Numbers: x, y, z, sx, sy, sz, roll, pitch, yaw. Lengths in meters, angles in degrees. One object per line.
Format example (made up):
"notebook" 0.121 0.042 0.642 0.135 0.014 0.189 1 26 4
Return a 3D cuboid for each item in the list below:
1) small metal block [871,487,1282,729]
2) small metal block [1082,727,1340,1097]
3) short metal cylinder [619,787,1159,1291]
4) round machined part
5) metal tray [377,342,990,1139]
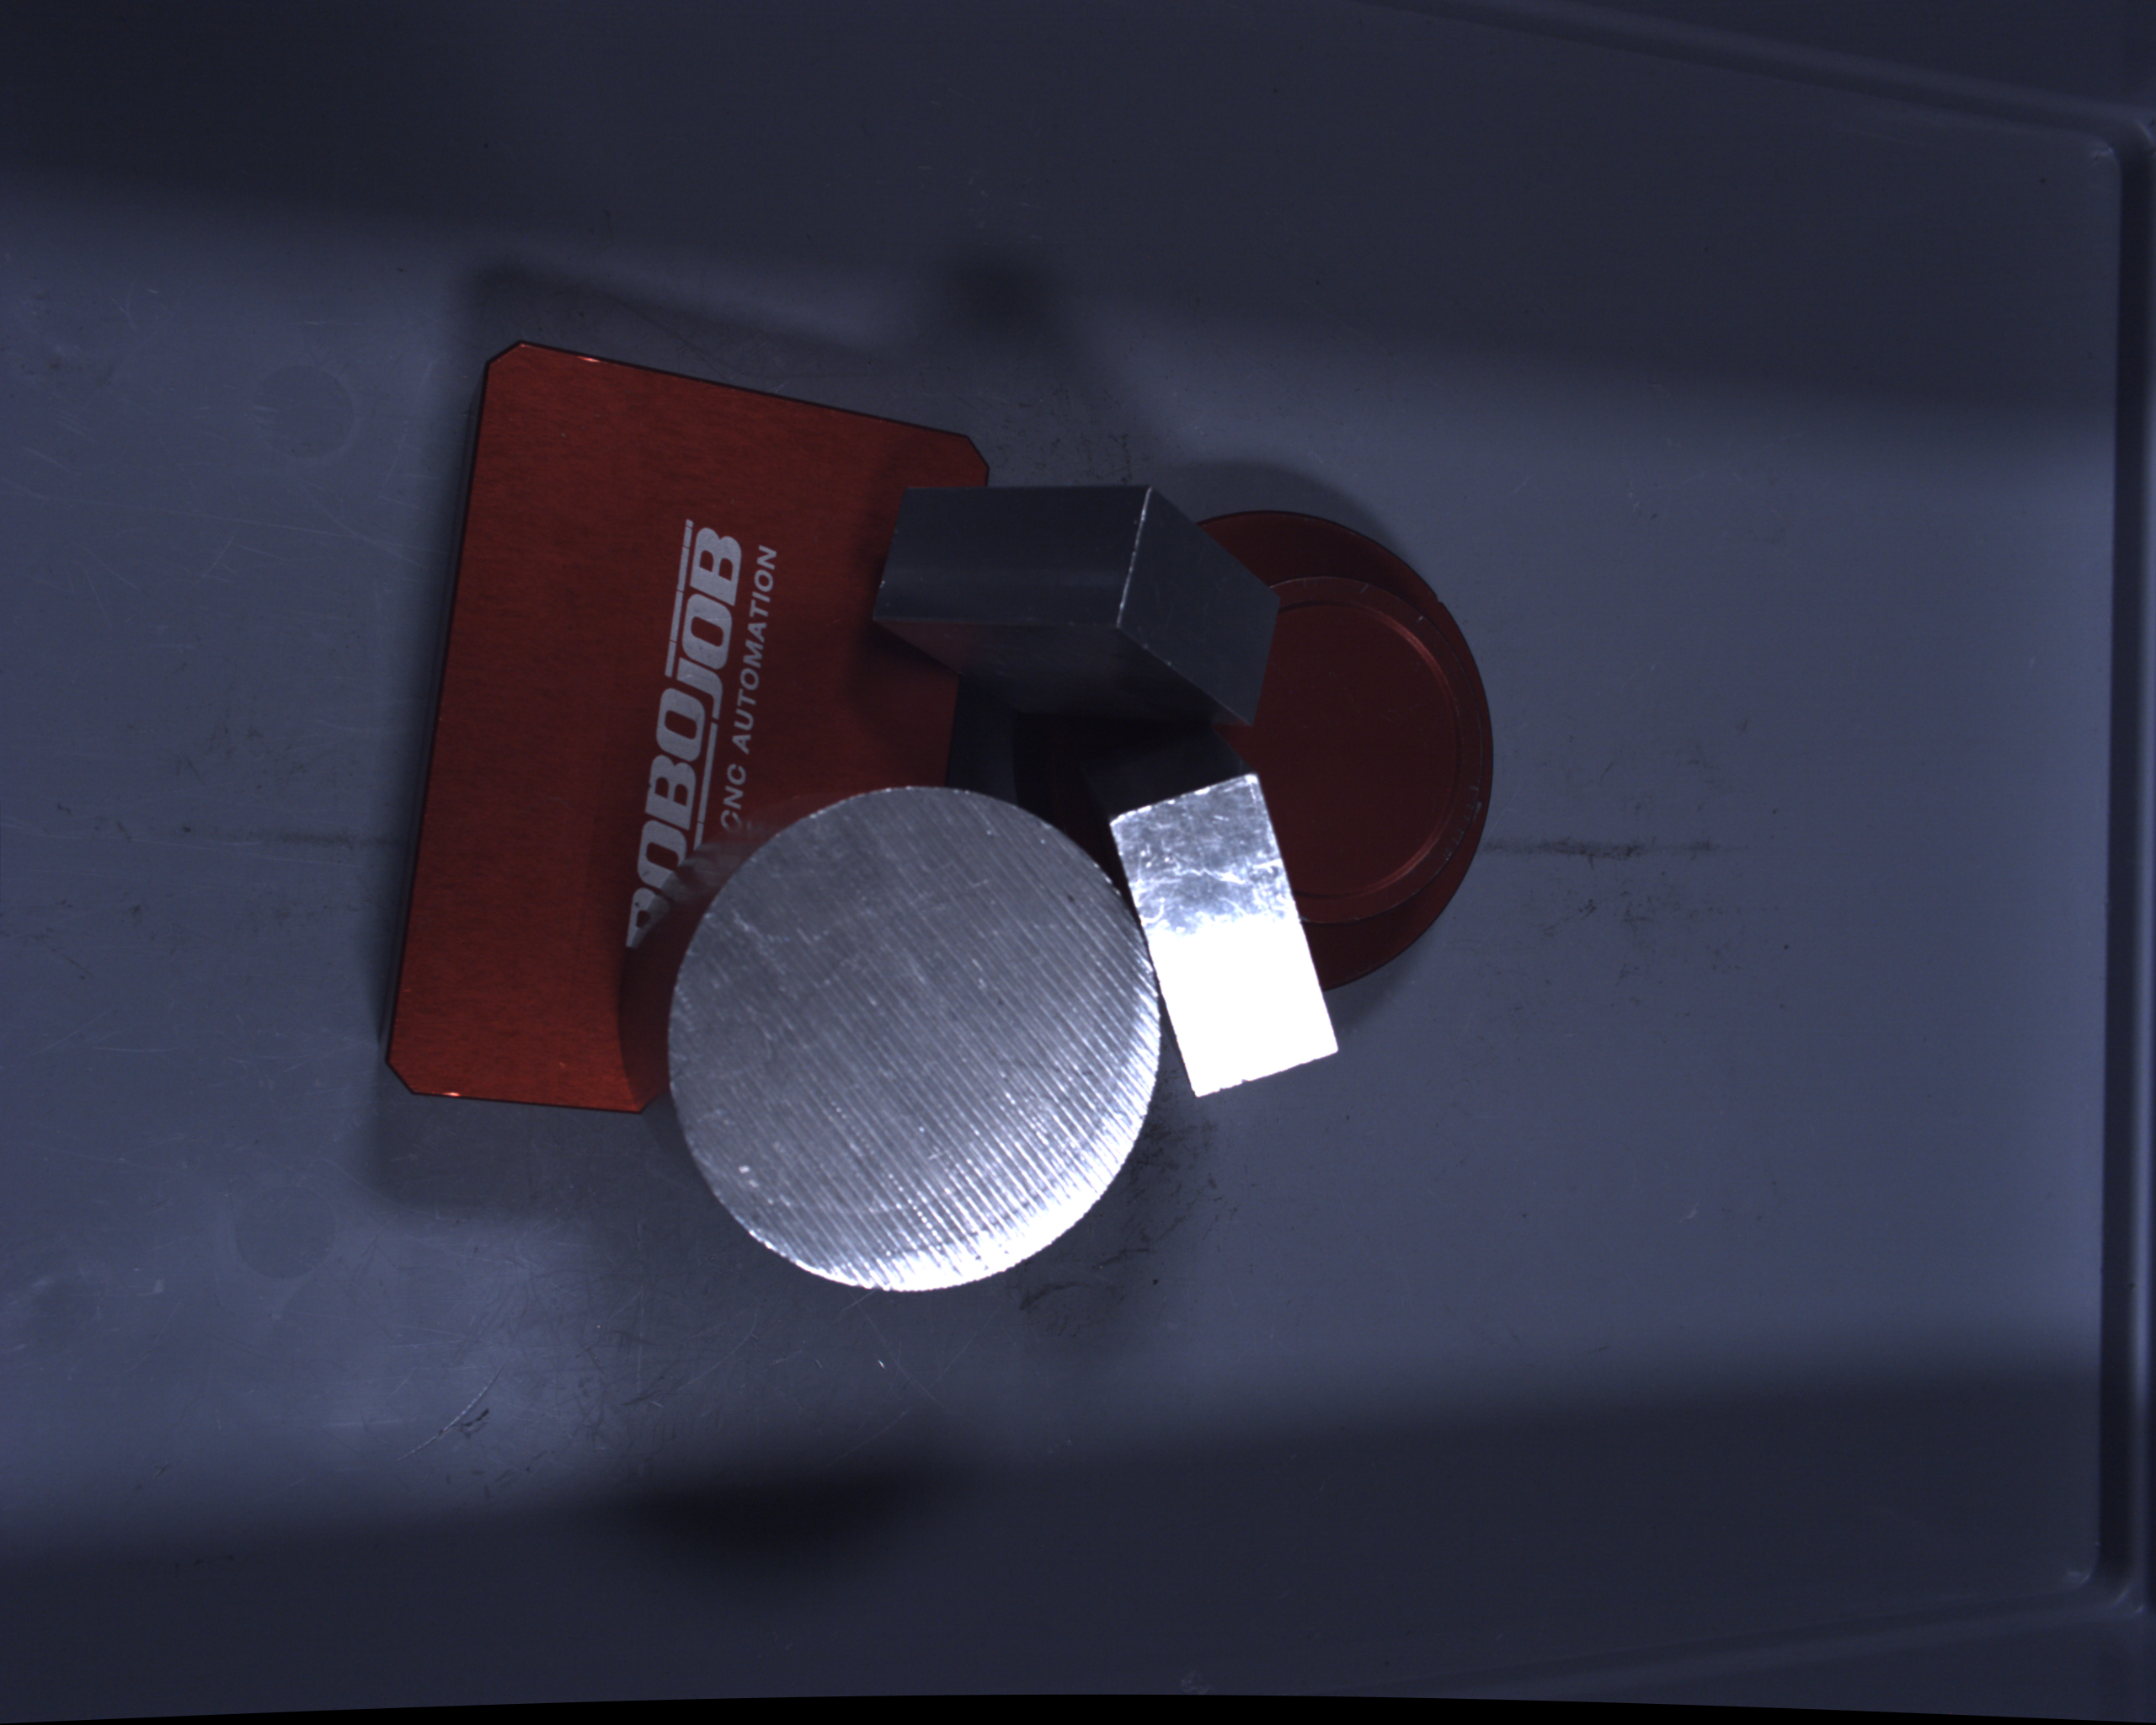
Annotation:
"small metal block" 0.001 -0.045 0.370 0.050 0.050 0.025 28 72 -55
"small metal block" 0.022 0.007 0.363 0.025 0.050 0.050 -18 103 -1
"short metal cylinder" -0.033 0.028 0.352 0.081 0.050 0.079 0 90 -21
"round machined part" 0.041 -0.022 0.416 0.099 0.042 0.097 0 90 -21
"metal tray" -0.071 -0.019 0.378 0.091 0.030 0.129 8 87 -20
